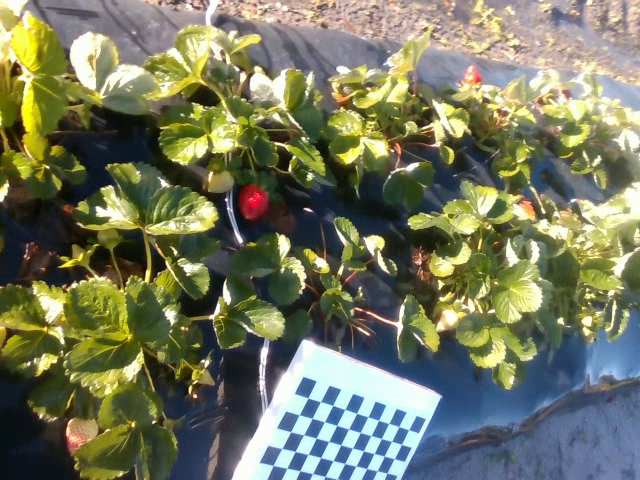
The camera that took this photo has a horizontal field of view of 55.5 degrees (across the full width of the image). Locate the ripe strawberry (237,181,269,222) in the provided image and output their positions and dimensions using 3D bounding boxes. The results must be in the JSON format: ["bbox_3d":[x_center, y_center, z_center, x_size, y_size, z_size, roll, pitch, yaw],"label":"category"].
[{"bbox_3d":[-0.096,-0.056,0.921,0.040,0.063,0.080,-13,35,21],"label":"ripe strawberry"}]
